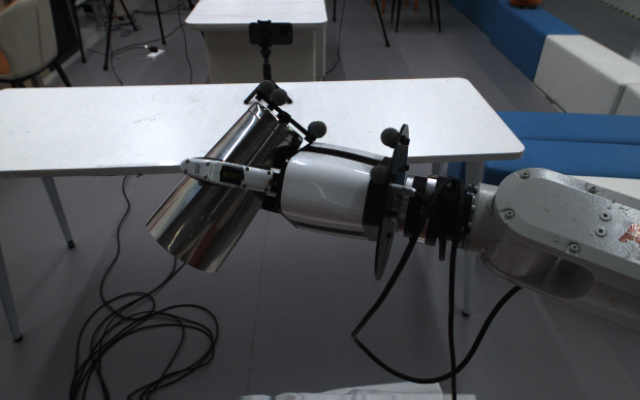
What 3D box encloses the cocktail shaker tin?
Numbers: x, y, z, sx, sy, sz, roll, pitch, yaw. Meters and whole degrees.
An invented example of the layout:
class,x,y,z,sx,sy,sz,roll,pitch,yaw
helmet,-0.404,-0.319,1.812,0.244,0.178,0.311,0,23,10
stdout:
class,x,y,z,sx,sy,sz,roll,pitch,yaw
cocktail shaker tin,-0.094,-0.020,0.520,0.170,0.093,0.093,-50,46,4
